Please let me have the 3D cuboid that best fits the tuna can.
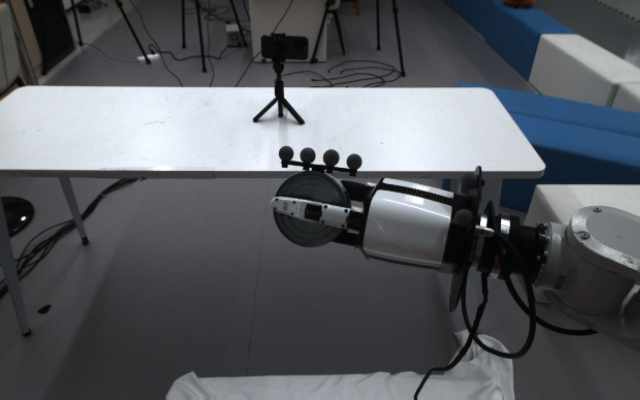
[{"bbox_3d":[-0.007,0.007,0.551,0.085,0.085,0.034,11,2,13],"label":"tuna can"}]
